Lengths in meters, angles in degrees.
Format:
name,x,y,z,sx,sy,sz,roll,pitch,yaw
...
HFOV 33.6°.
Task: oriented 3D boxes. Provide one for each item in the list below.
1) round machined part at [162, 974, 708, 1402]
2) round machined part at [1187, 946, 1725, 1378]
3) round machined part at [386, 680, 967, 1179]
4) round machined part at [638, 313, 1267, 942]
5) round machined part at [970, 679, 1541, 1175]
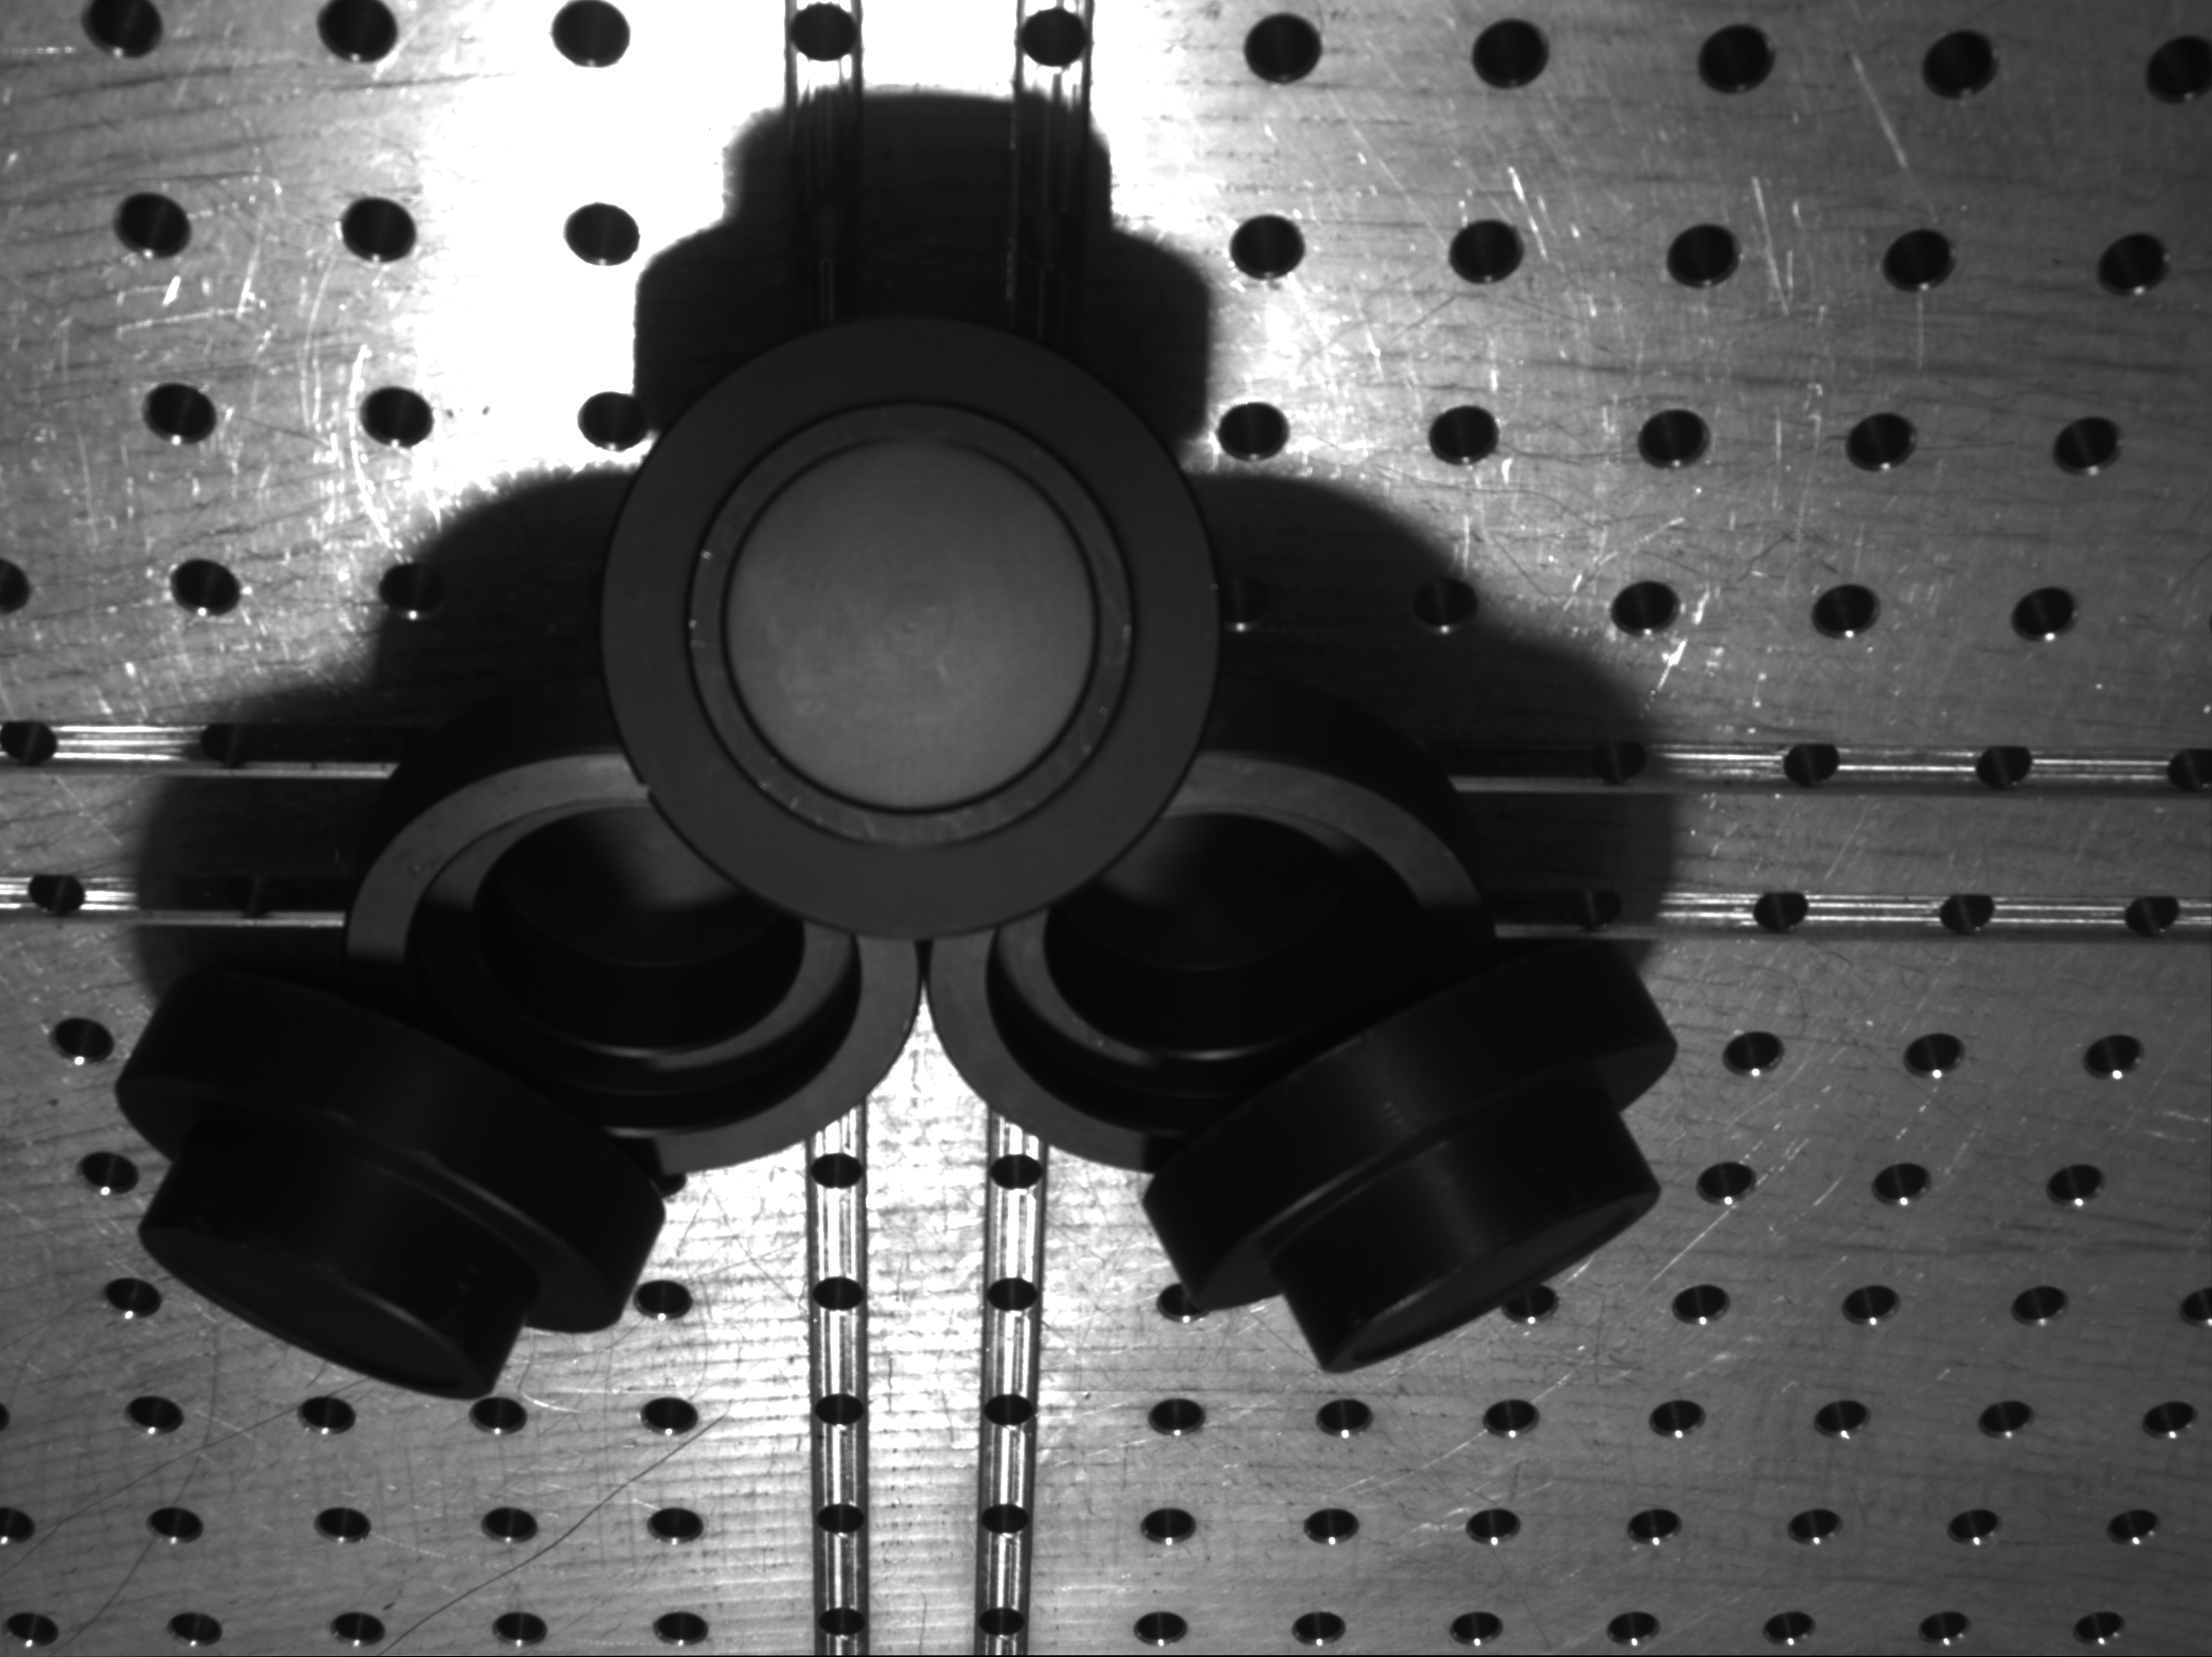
name,x,y,z,sx,sy,sz,roll,pitch,yaw
round machined part,-0.124,0.068,0.653,0.098,0.042,0.098,20,157,9
round machined part,0.067,0.064,0.651,0.098,0.042,0.098,-24,162,-8
round machined part,-0.073,0.012,0.637,0.098,0.042,0.098,-1,130,-1
round machined part,-0.024,-0.031,0.570,0.098,0.042,0.098,0,92,-2
round machined part,0.025,0.013,0.641,0.098,0.042,0.098,-1,130,-1
